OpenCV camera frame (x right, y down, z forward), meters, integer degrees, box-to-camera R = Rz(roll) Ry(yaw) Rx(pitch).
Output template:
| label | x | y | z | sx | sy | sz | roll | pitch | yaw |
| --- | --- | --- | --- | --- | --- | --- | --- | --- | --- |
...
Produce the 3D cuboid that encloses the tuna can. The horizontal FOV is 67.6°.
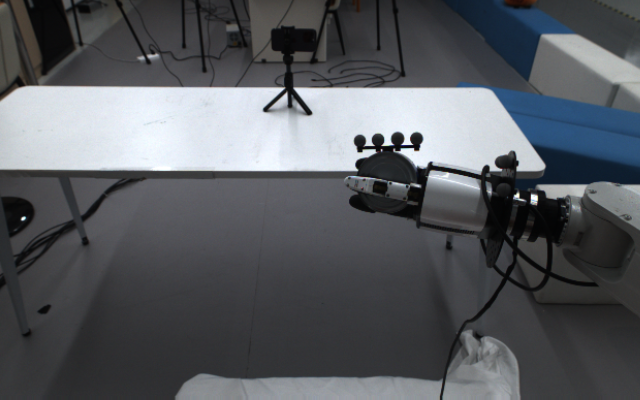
| label | x | y | z | sx | sy | sz | roll | pitch | yaw |
| --- | --- | --- | --- | --- | --- | --- | --- | --- | --- |
| tuna can | 0.096 | -0.026 | 0.680 | 0.085 | 0.085 | 0.034 | 15 | 10 | 18 |
